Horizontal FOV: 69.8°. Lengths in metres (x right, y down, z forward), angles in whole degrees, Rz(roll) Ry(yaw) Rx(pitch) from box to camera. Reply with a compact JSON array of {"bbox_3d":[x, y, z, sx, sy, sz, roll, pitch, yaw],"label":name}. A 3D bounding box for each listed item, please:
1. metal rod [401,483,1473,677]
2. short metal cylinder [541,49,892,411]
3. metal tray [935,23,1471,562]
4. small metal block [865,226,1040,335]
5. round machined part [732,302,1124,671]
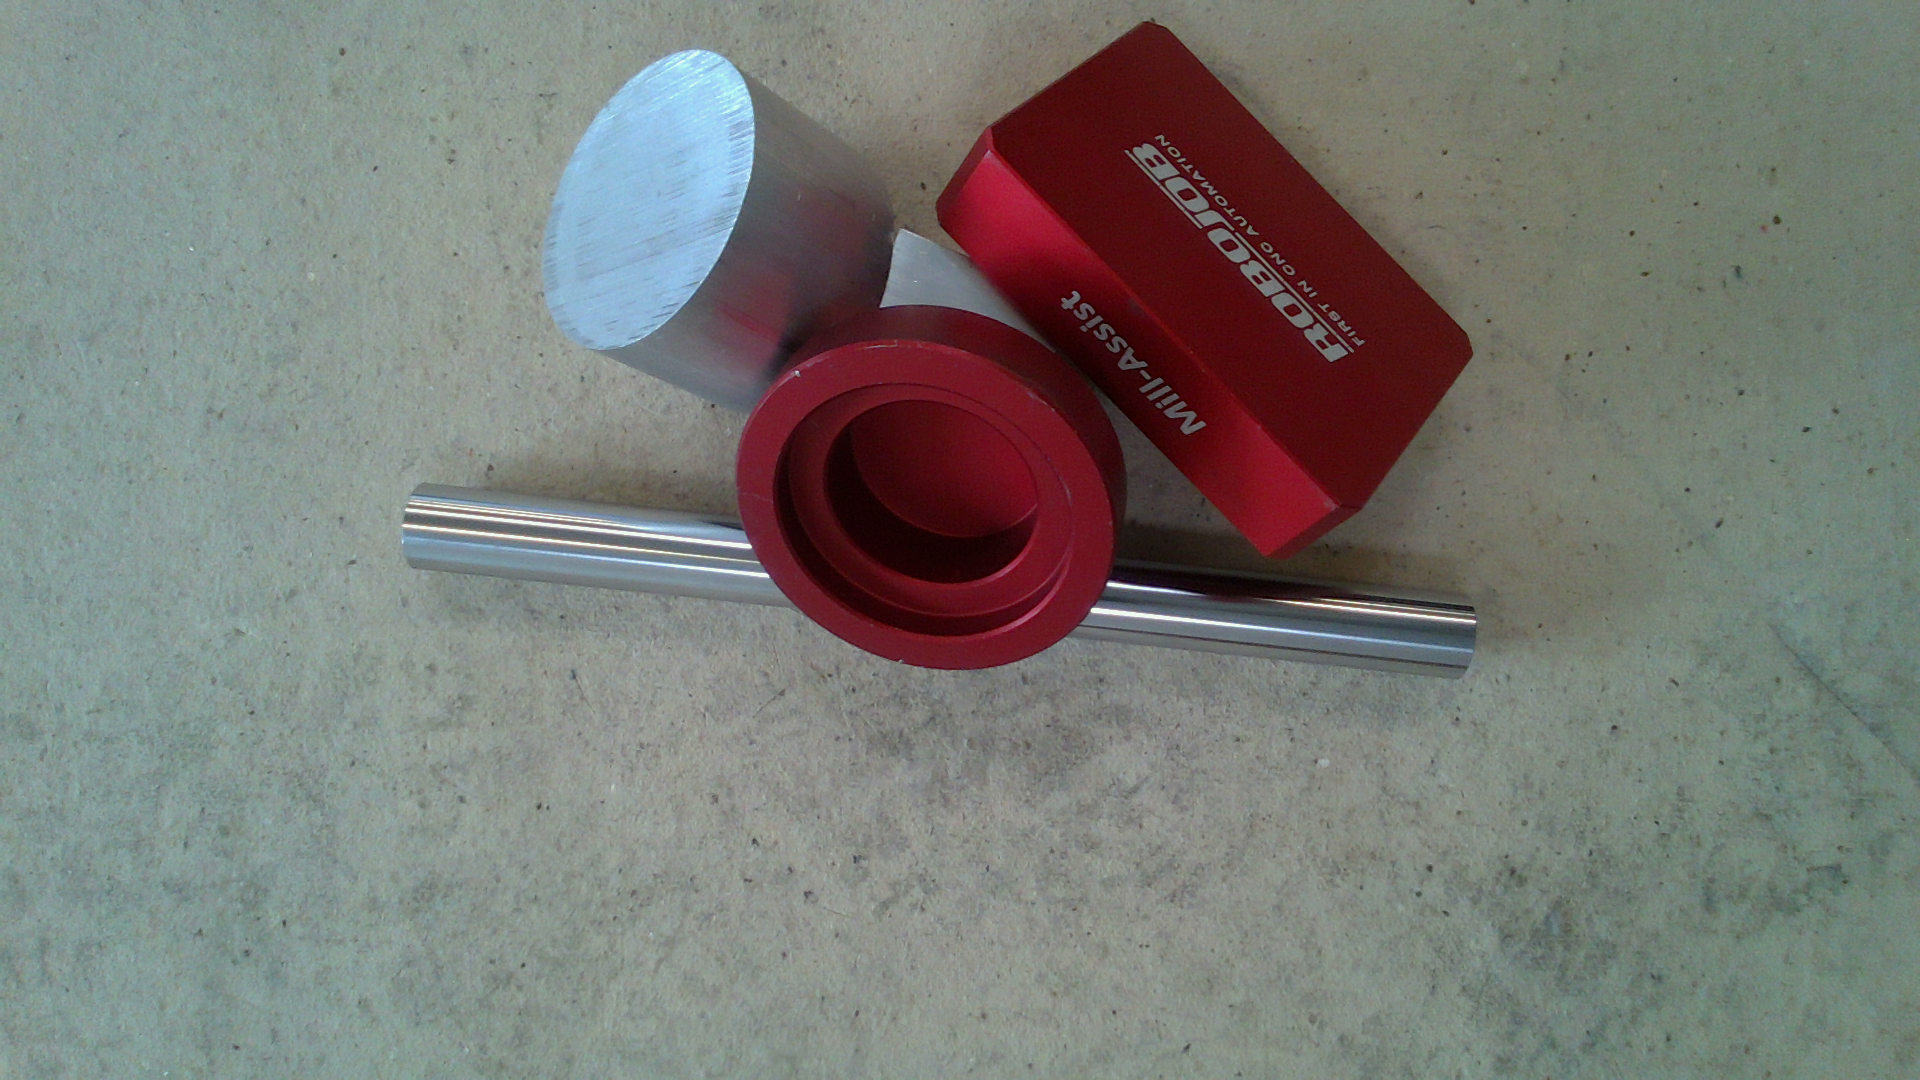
[{"bbox_3d":[-0.006,0.011,0.396,0.300,0.025,0.025,6,90,0],"label":"metal rod"},{"bbox_3d":[-0.065,-0.079,0.363,0.080,0.050,0.080,-13,68,36],"label":"short metal cylinder"},{"bbox_3d":[0.068,-0.069,0.367,0.130,0.030,0.090,45,52,0],"label":"metal tray"},{"bbox_3d":[0.002,-0.060,0.381,0.050,0.050,0.025,24,90,0],"label":"small metal block"},{"bbox_3d":[-0.005,-0.017,0.356,0.098,0.042,0.098,7,126,10],"label":"round machined part"}]
